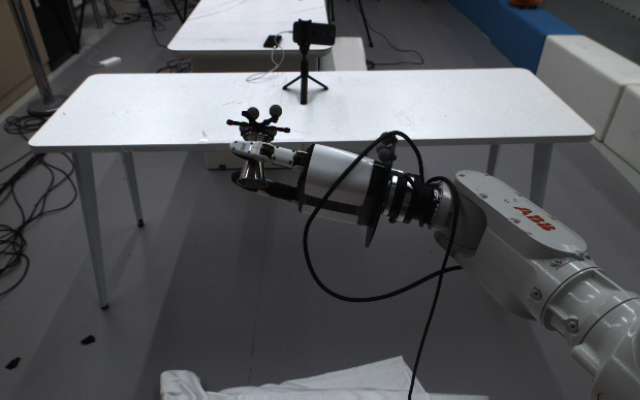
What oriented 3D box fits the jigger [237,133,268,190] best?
[{"bbox_3d":[-0.091,-0.055,0.671,0.043,0.043,0.071,3,75,2],"label":"jigger"}]
